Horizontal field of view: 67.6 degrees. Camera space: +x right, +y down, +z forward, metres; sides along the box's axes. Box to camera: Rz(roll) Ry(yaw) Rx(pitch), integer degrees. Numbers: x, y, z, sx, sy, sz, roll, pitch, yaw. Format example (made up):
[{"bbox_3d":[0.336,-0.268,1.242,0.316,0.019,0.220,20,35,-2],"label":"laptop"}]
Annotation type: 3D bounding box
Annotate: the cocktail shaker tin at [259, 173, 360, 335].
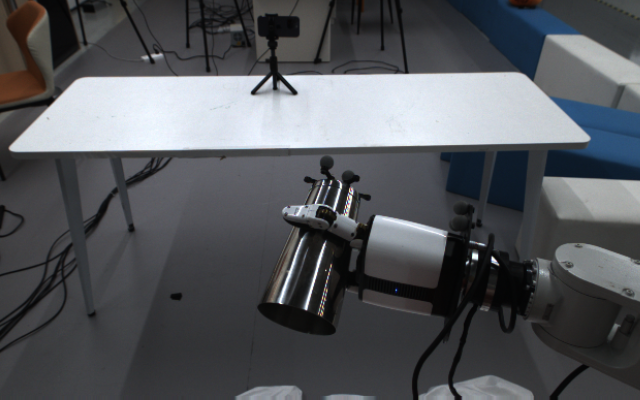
[{"bbox_3d":[0.000,0.063,0.572,0.093,0.093,0.170,10,59,12],"label":"cocktail shaker tin"}]
